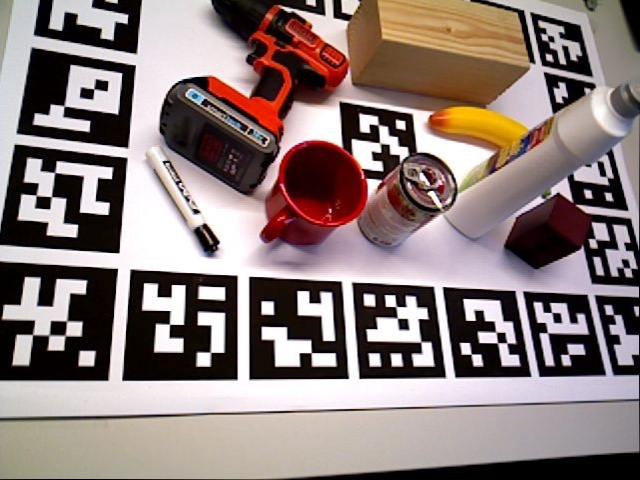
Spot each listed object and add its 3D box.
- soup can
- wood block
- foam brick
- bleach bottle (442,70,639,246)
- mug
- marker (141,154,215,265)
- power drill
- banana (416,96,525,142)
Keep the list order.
[{"bbox_3d":[0.088,-0.039,0.563,0.067,0.104,0.067,10,62,-19],"label":"soup can"},{"bbox_3d":[0.139,-0.237,0.675,0.203,0.093,0.089,3,69,-20],"label":"wood block"},{"bbox_3d":[0.270,-0.004,0.644,0.052,0.080,0.050,34,59,-3],"label":"foam brick"},{"bbox_3d":[0.225,-0.085,0.555,0.068,0.256,0.101,31,60,-7],"label":"bleach bottle"},{"bbox_3d":[-0.018,-0.036,0.538,0.093,0.083,0.115,44,64,-3],"label":"mug"},{"bbox_3d":[-0.137,-0.029,0.528,0.019,0.020,0.121,-29,83,-26],"label":"marker"},{"bbox_3d":[-0.079,-0.169,0.587,0.184,0.058,0.183,32,60,-11],"label":"power drill"},{"bbox_3d":[0.213,-0.140,0.692,0.196,0.039,0.074,20,78,-16],"label":"banana"}]
